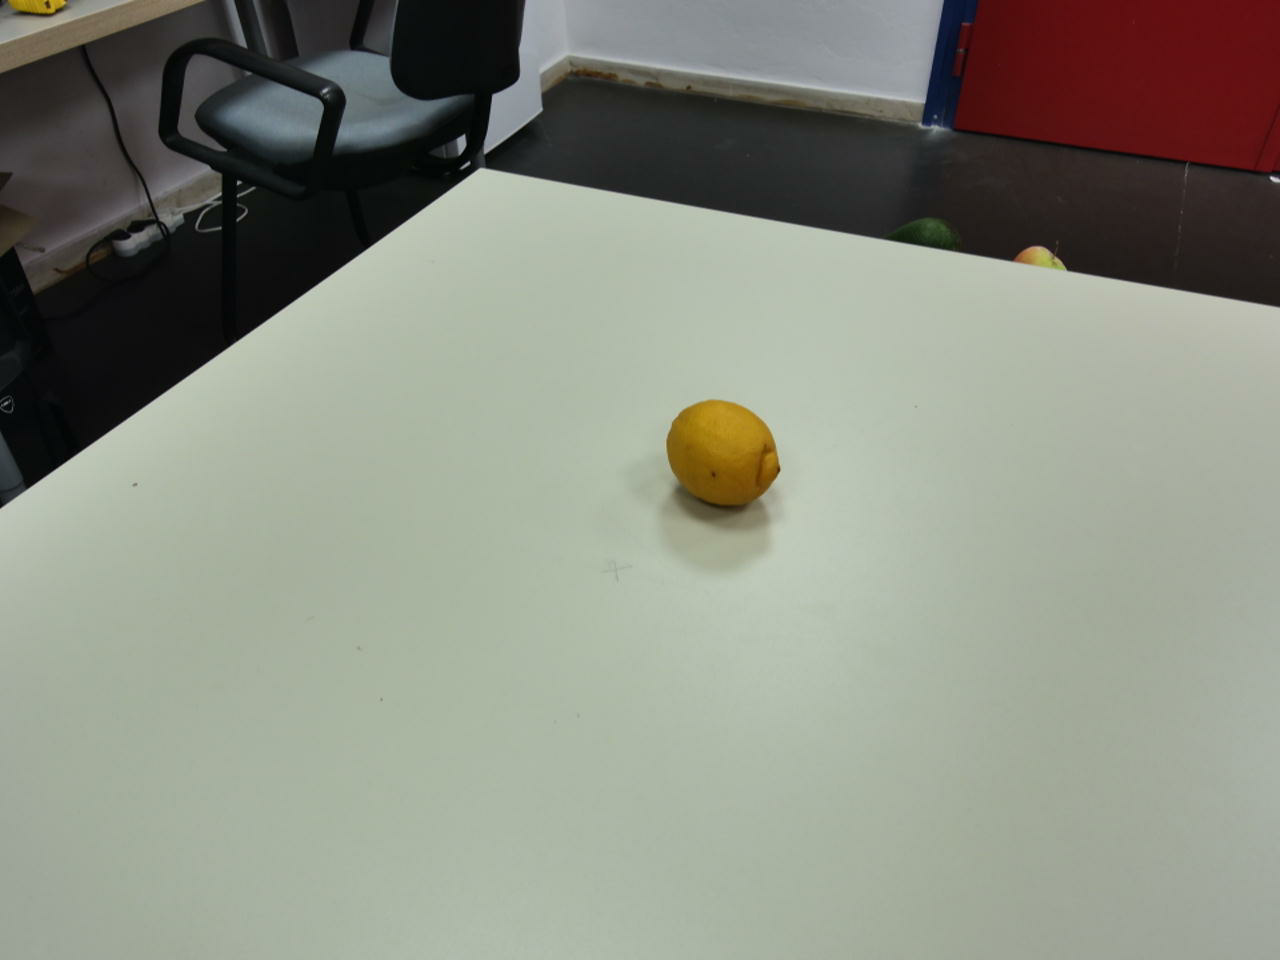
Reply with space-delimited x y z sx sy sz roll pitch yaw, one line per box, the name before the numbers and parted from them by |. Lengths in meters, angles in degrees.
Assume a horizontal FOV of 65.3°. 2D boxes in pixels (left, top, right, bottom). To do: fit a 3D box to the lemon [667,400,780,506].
lemon | 0.048 -0.015 0.587 0.061 0.059 0.067 -15 41 -18
